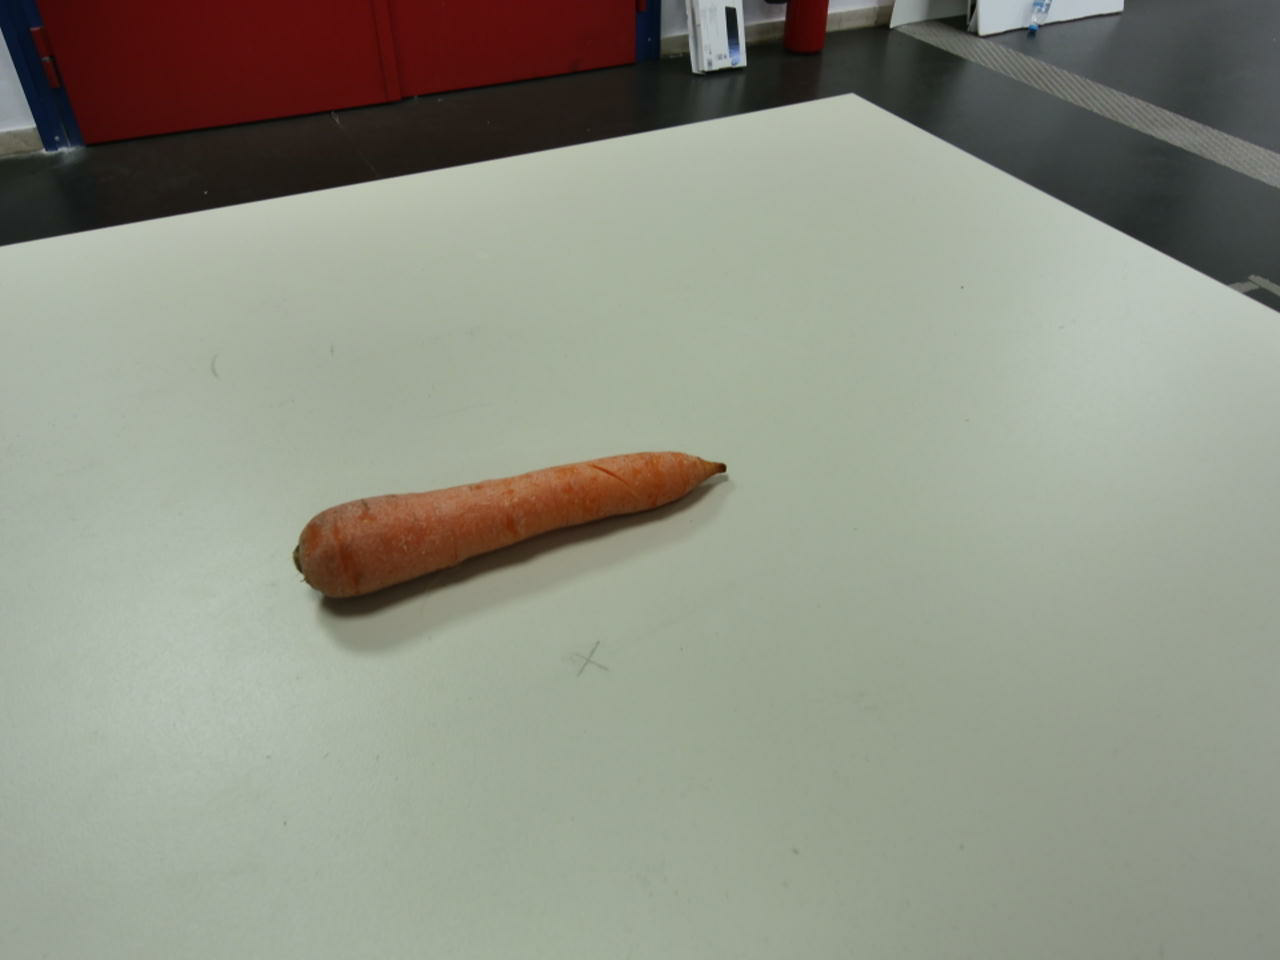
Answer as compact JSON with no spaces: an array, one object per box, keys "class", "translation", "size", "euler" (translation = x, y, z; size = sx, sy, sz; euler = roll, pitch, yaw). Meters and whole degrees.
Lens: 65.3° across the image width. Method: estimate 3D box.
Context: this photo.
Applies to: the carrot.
[{"class":"carrot","translation":[-0.048,0.008,0.434],"size":[0.196,0.041,0.039],"euler":[-17,41,-21]}]
